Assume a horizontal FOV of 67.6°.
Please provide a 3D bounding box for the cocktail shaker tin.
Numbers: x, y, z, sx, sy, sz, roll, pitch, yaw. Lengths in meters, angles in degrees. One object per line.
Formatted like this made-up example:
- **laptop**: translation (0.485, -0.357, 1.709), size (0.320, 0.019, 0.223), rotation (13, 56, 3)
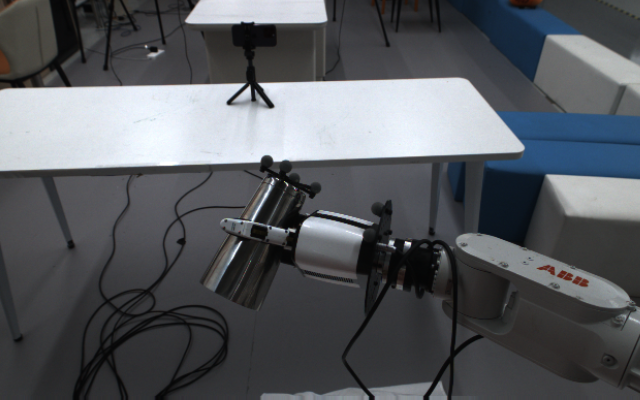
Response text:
- **cocktail shaker tin**: translation (-0.085, 0.054, 0.673), size (0.093, 0.093, 0.170), rotation (21, 81, 25)
